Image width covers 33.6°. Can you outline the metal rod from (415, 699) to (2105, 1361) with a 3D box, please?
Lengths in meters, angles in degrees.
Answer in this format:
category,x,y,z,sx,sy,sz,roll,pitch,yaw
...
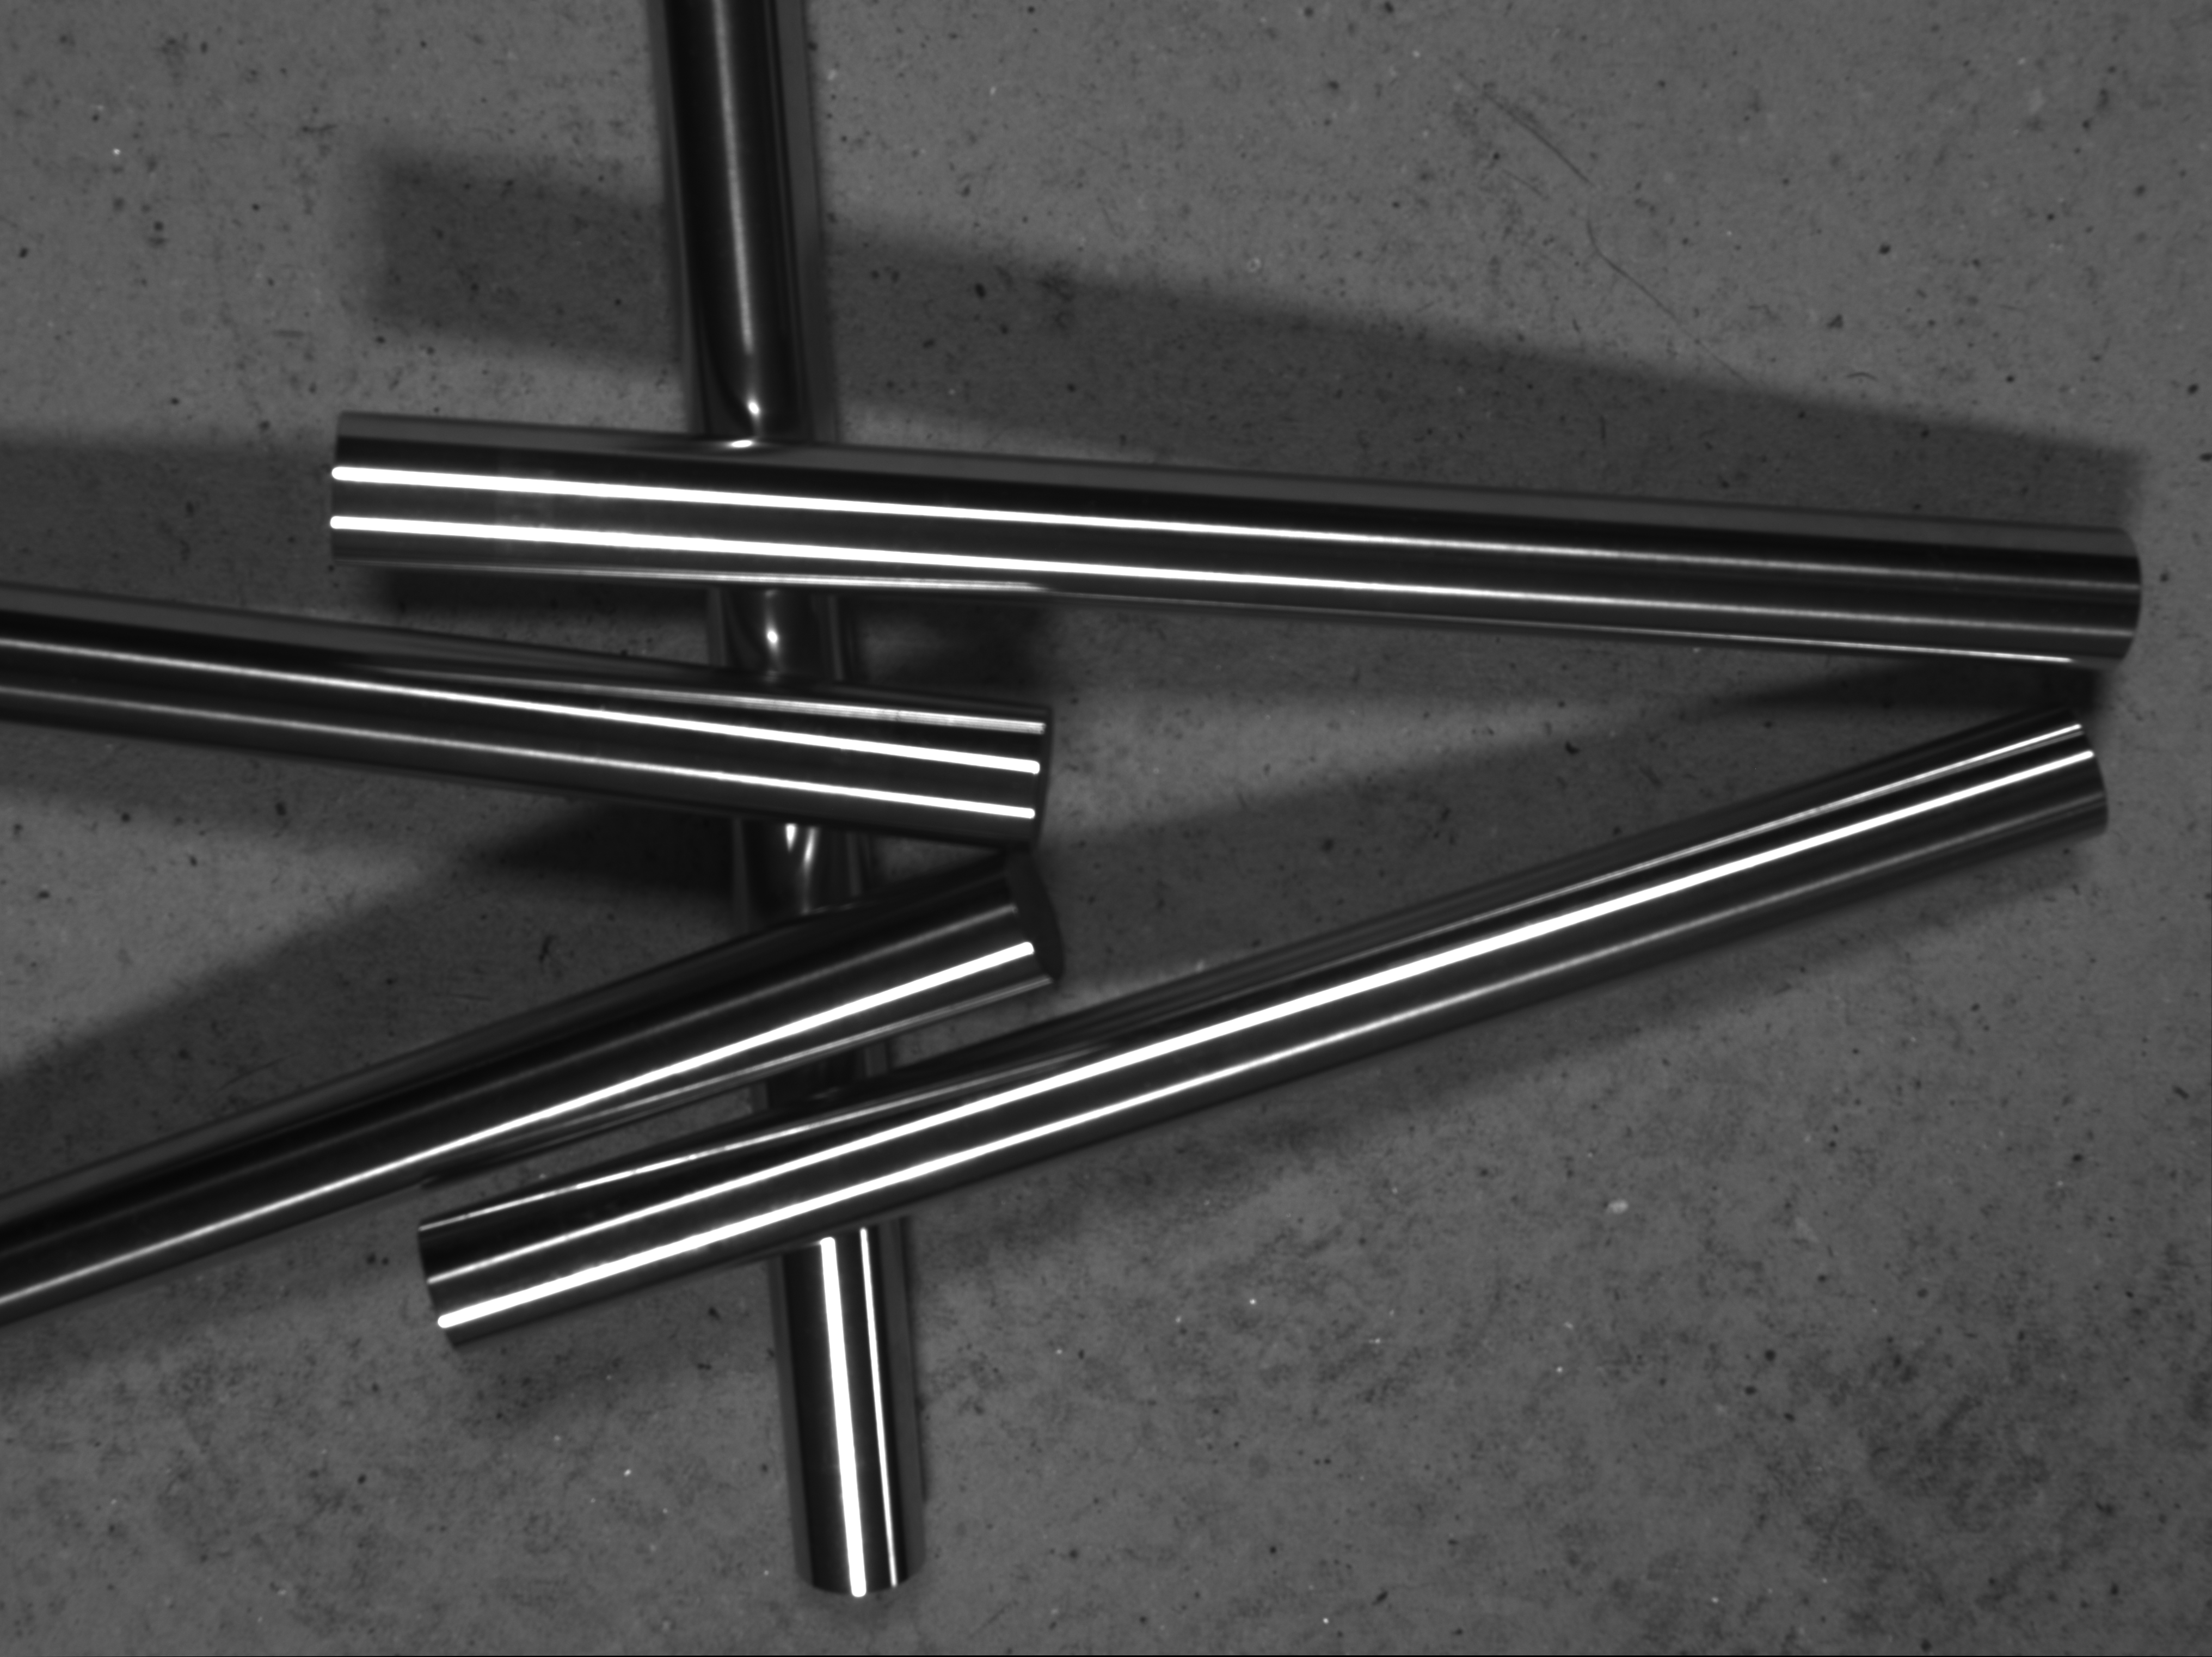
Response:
category,x,y,z,sx,sy,sz,roll,pitch,yaw
metal rod,0.027,0.035,0.639,0.300,0.025,0.025,-18,109,-1

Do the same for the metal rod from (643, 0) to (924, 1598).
category,x,y,z,sx,sy,sz,roll,pitch,yaw
metal rod,-0.055,-0.002,0.642,0.025,0.025,0.300,-3,110,1

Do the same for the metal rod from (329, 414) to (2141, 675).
category,x,y,z,sx,sy,sz,roll,pitch,yaw
metal rod,0.025,-0.046,0.609,0.300,0.025,0.025,3,110,-8

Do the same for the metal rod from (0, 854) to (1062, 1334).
category,x,y,z,sx,sy,sz,roll,pitch,yaw
metal rod,-0.151,0.062,0.649,0.300,0.025,0.025,-19,109,12

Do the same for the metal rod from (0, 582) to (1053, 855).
category,x,y,z,sx,sy,sz,roll,pitch,yaw
metal rod,-0.159,-0.026,0.617,0.300,0.025,0.025,7,110,3
